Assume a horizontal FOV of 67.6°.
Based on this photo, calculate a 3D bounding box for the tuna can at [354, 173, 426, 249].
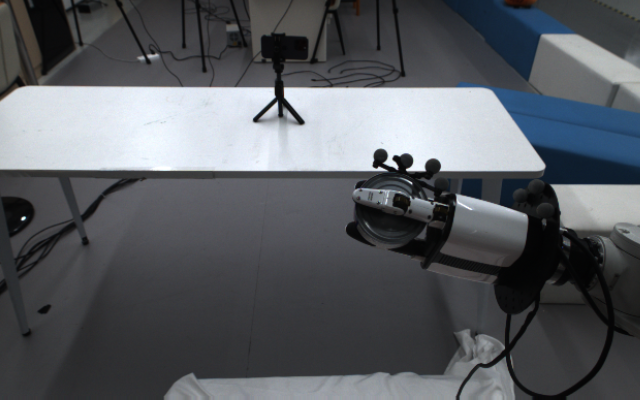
[{"bbox_3d":[0.084,0.010,0.567,0.085,0.034,0.085,0,71,0],"label":"tuna can"}]
